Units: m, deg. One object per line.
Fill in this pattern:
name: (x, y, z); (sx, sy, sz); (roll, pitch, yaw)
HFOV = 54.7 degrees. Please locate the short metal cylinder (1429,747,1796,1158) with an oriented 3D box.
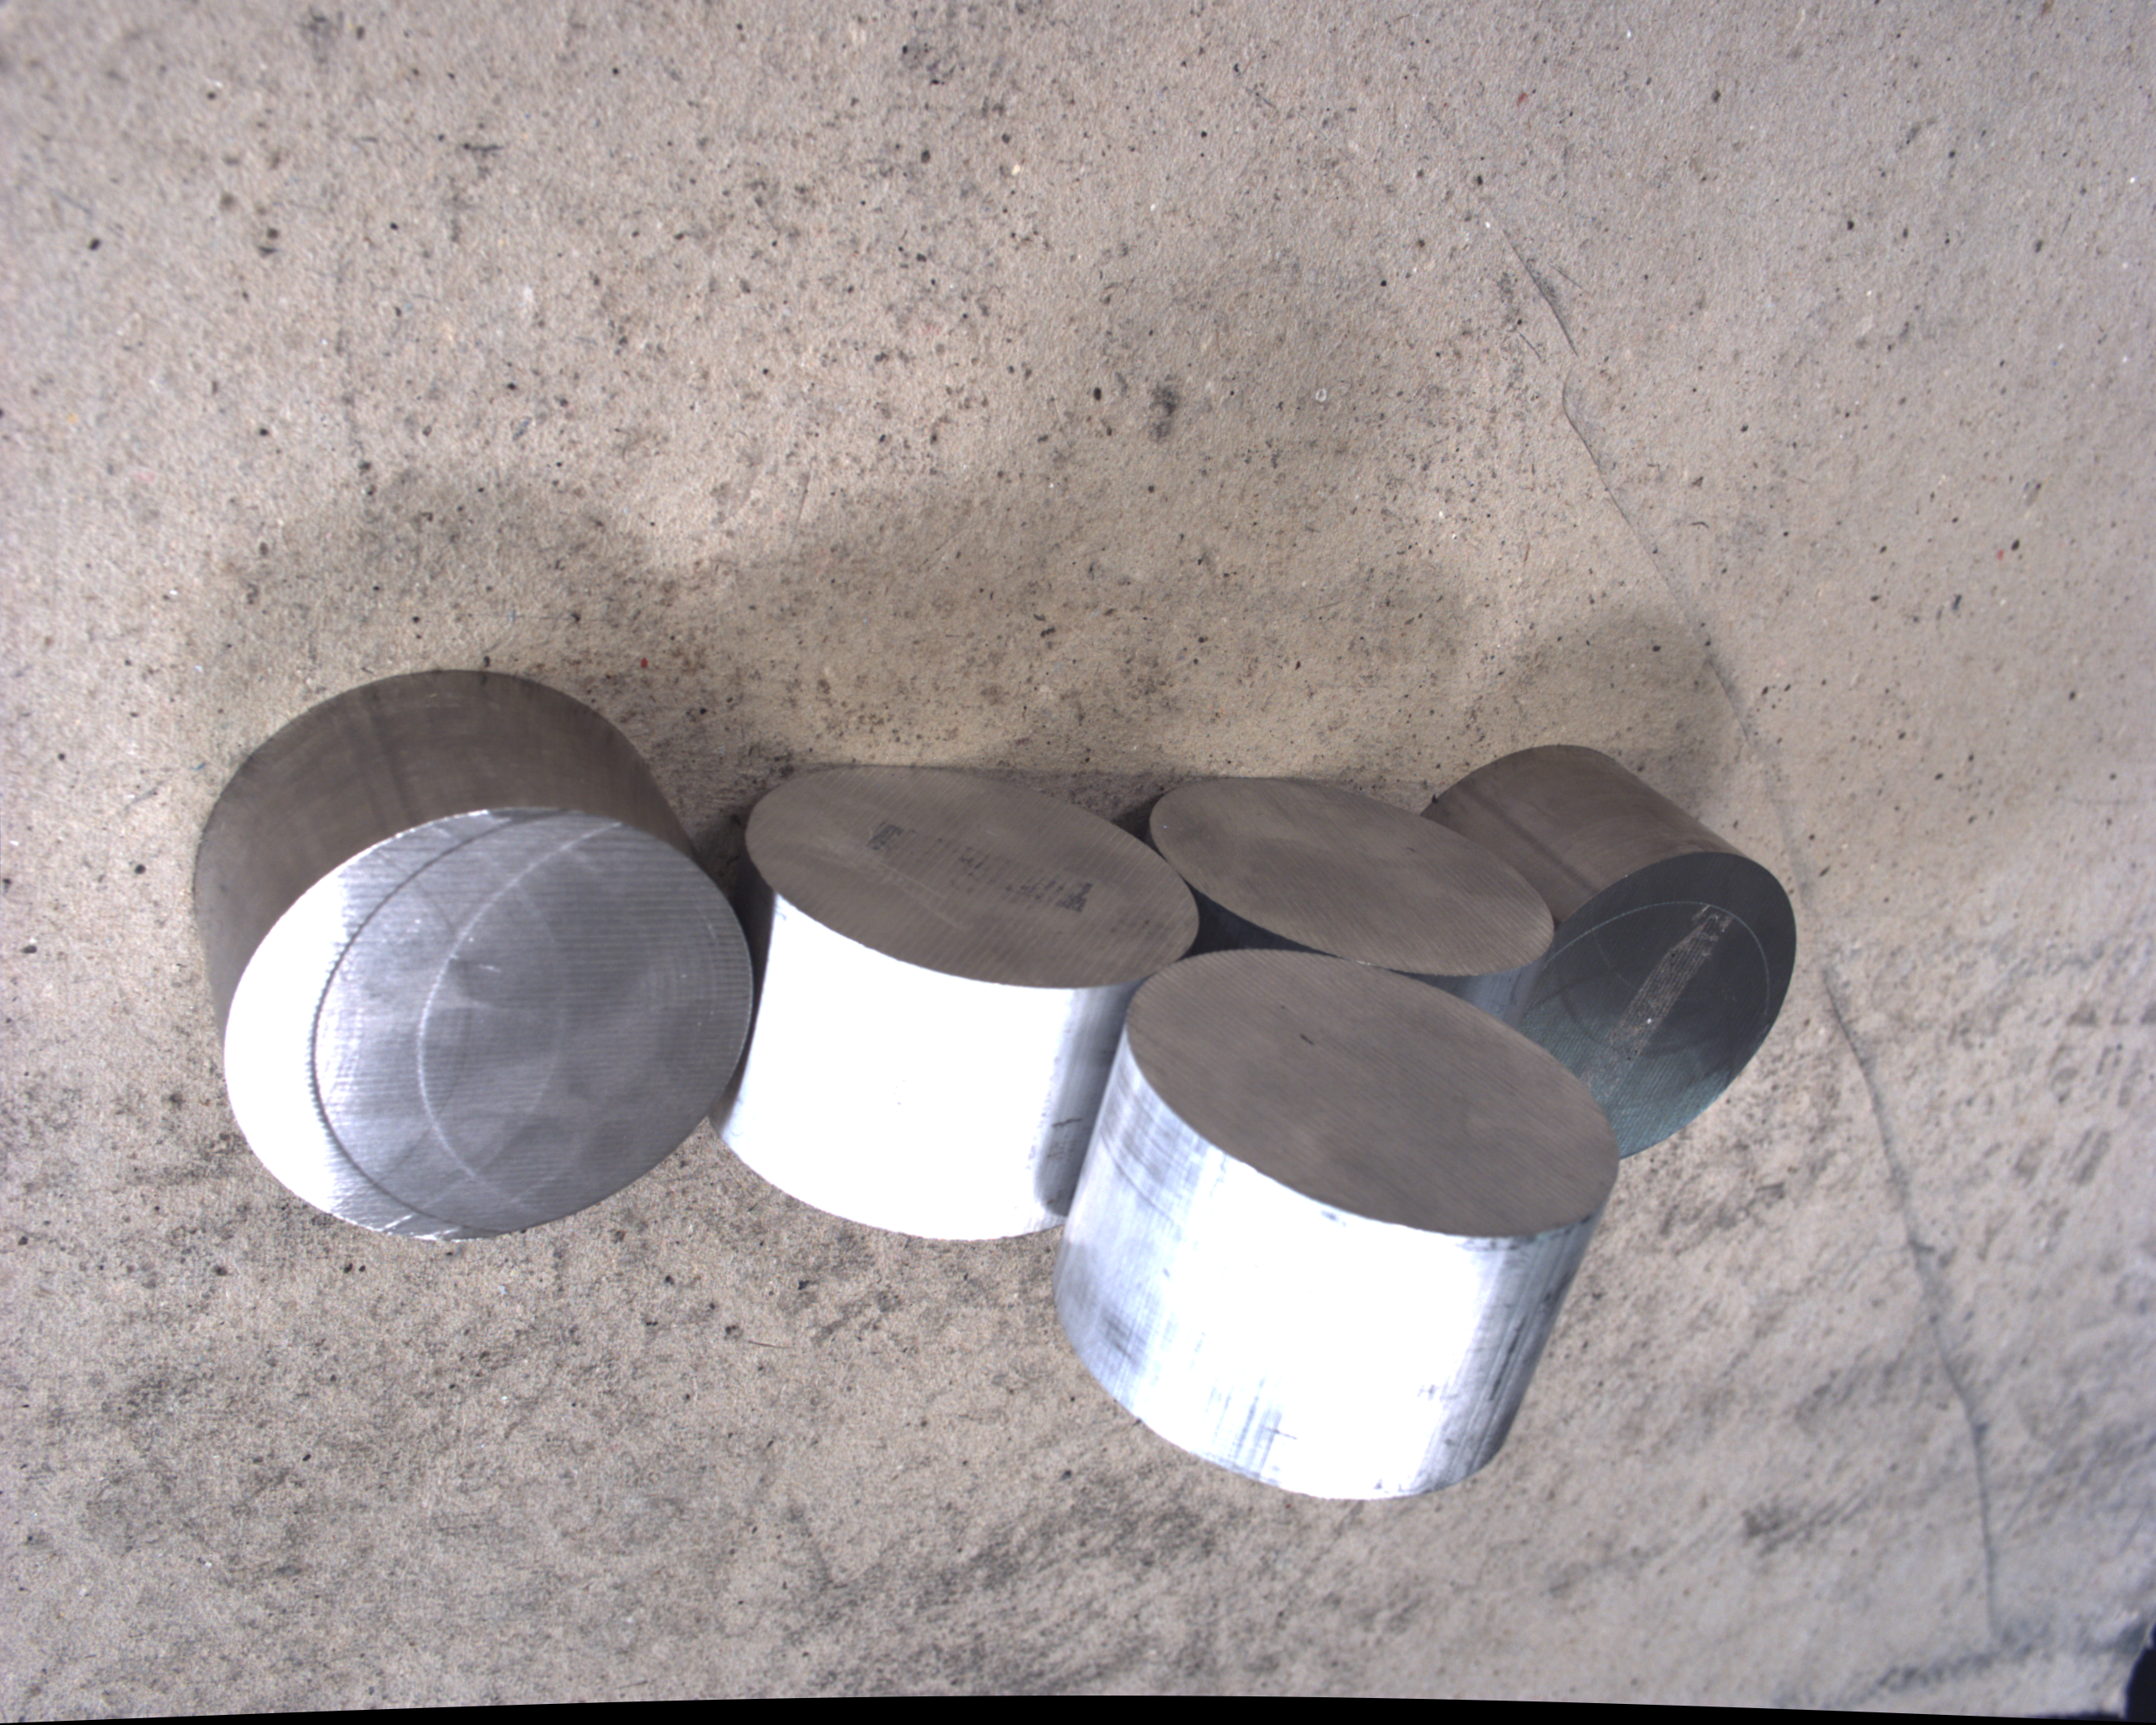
short metal cylinder: (0.111, 0.021, 0.465); (0.081, 0.050, 0.079); (-14, 125, -21)

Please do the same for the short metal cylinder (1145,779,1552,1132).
short metal cylinder: (0.047, 0.023, 0.413); (0.081, 0.080, 0.050); (0, 118, -29)

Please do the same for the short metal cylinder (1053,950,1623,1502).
short metal cylinder: (0.041, 0.056, 0.340); (0.081, 0.080, 0.050); (0, 119, -29)

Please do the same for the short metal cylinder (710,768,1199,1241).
short metal cylinder: (-0.024, 0.023, 0.374); (0.081, 0.080, 0.050); (0, 118, -29)

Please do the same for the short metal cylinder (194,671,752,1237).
short metal cylinder: (-0.101, 0.015, 0.346); (0.081, 0.050, 0.079); (-14, 125, -21)
